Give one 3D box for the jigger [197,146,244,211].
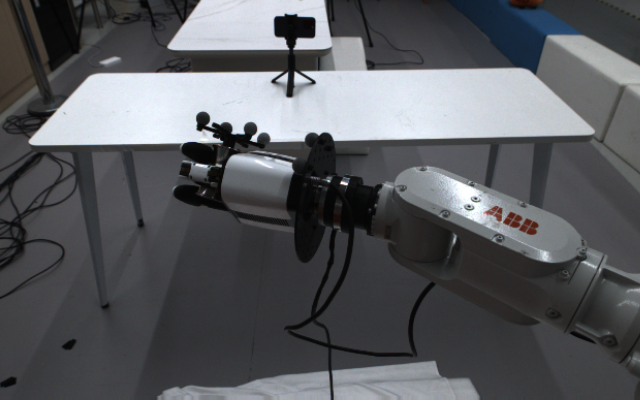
[{"bbox_3d":[-0.125,-0.032,0.619,0.043,0.071,0.043,15,-7,2],"label":"jigger"}]
